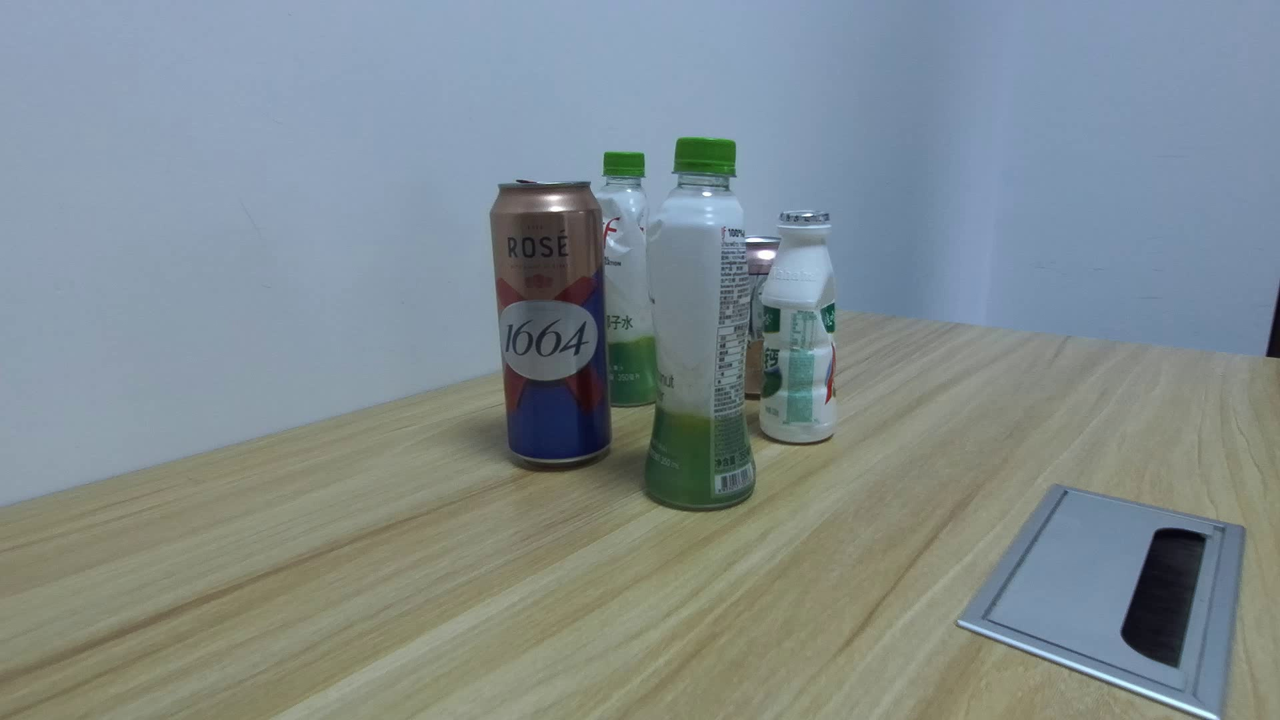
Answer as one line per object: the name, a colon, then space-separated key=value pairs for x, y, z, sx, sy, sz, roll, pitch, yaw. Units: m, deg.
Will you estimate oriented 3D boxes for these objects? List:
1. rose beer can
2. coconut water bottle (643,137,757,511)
rose beer can: x=-0.054 y=-0.021 z=0.436 sx=0.068 sy=0.169 sz=0.068 roll=-2 pitch=13 yaw=1
coconut water bottle: x=0.031 y=-0.019 z=0.374 sx=0.069 sy=0.187 sz=0.069 roll=-1 pitch=11 yaw=1
